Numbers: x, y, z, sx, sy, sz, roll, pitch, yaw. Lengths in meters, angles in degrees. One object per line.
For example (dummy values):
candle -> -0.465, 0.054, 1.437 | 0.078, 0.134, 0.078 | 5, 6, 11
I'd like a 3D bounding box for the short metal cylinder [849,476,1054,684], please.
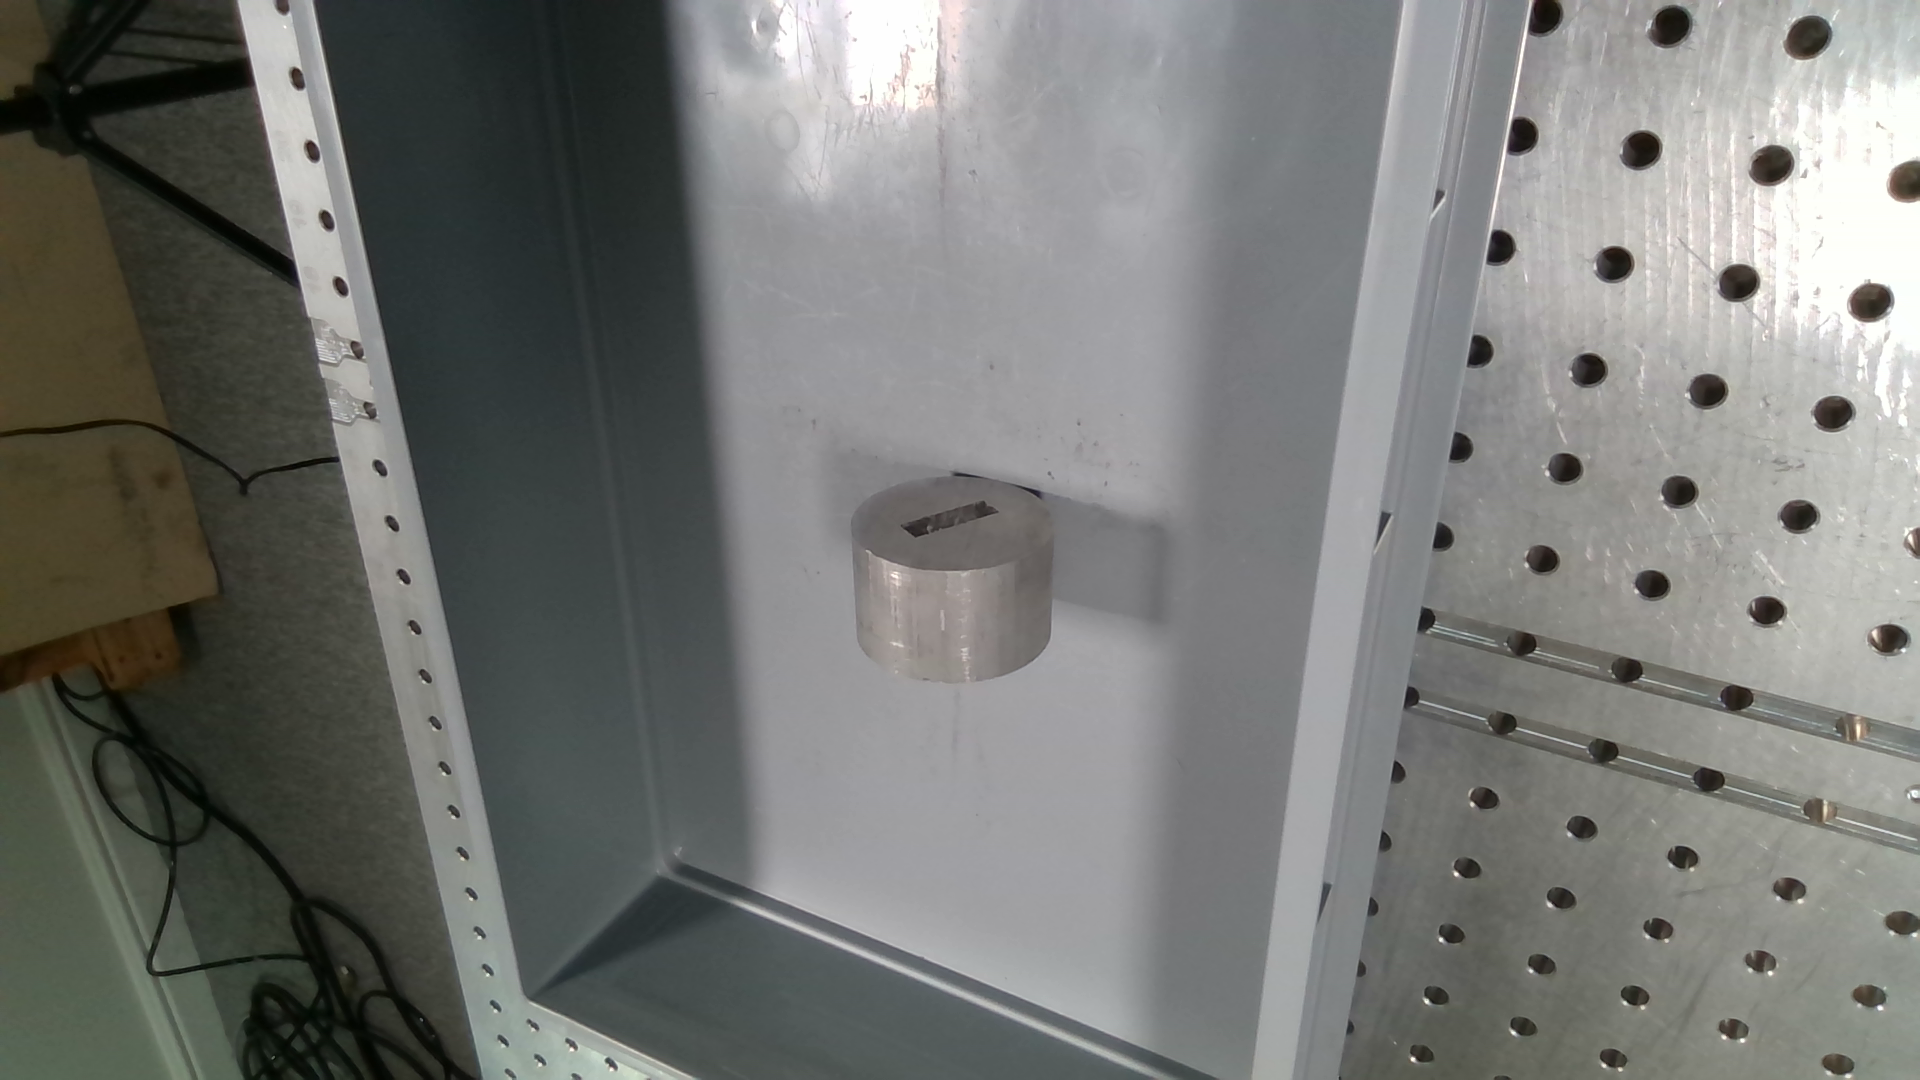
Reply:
short metal cylinder -> -0.003, 0.014, 0.552 | 0.080, 0.080, 0.050 | 14, 122, 25
